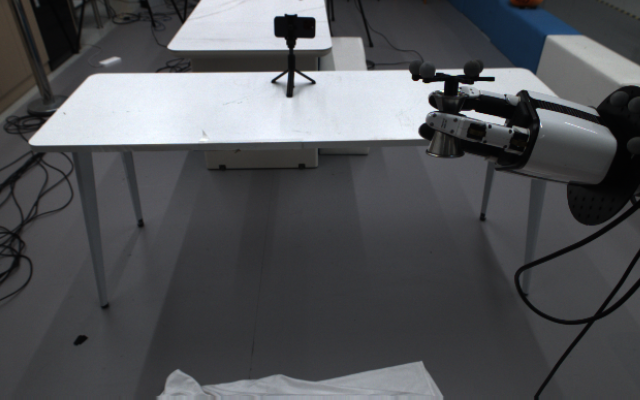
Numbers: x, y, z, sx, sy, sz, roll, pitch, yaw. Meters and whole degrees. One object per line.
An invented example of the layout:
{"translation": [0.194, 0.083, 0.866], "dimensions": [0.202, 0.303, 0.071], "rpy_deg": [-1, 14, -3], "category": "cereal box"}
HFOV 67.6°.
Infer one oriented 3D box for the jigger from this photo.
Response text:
{"translation": [0.144, -0.086, 0.551], "dimensions": [0.043, 0.071, 0.043], "rpy_deg": [0, 21, 0], "category": "jigger"}
